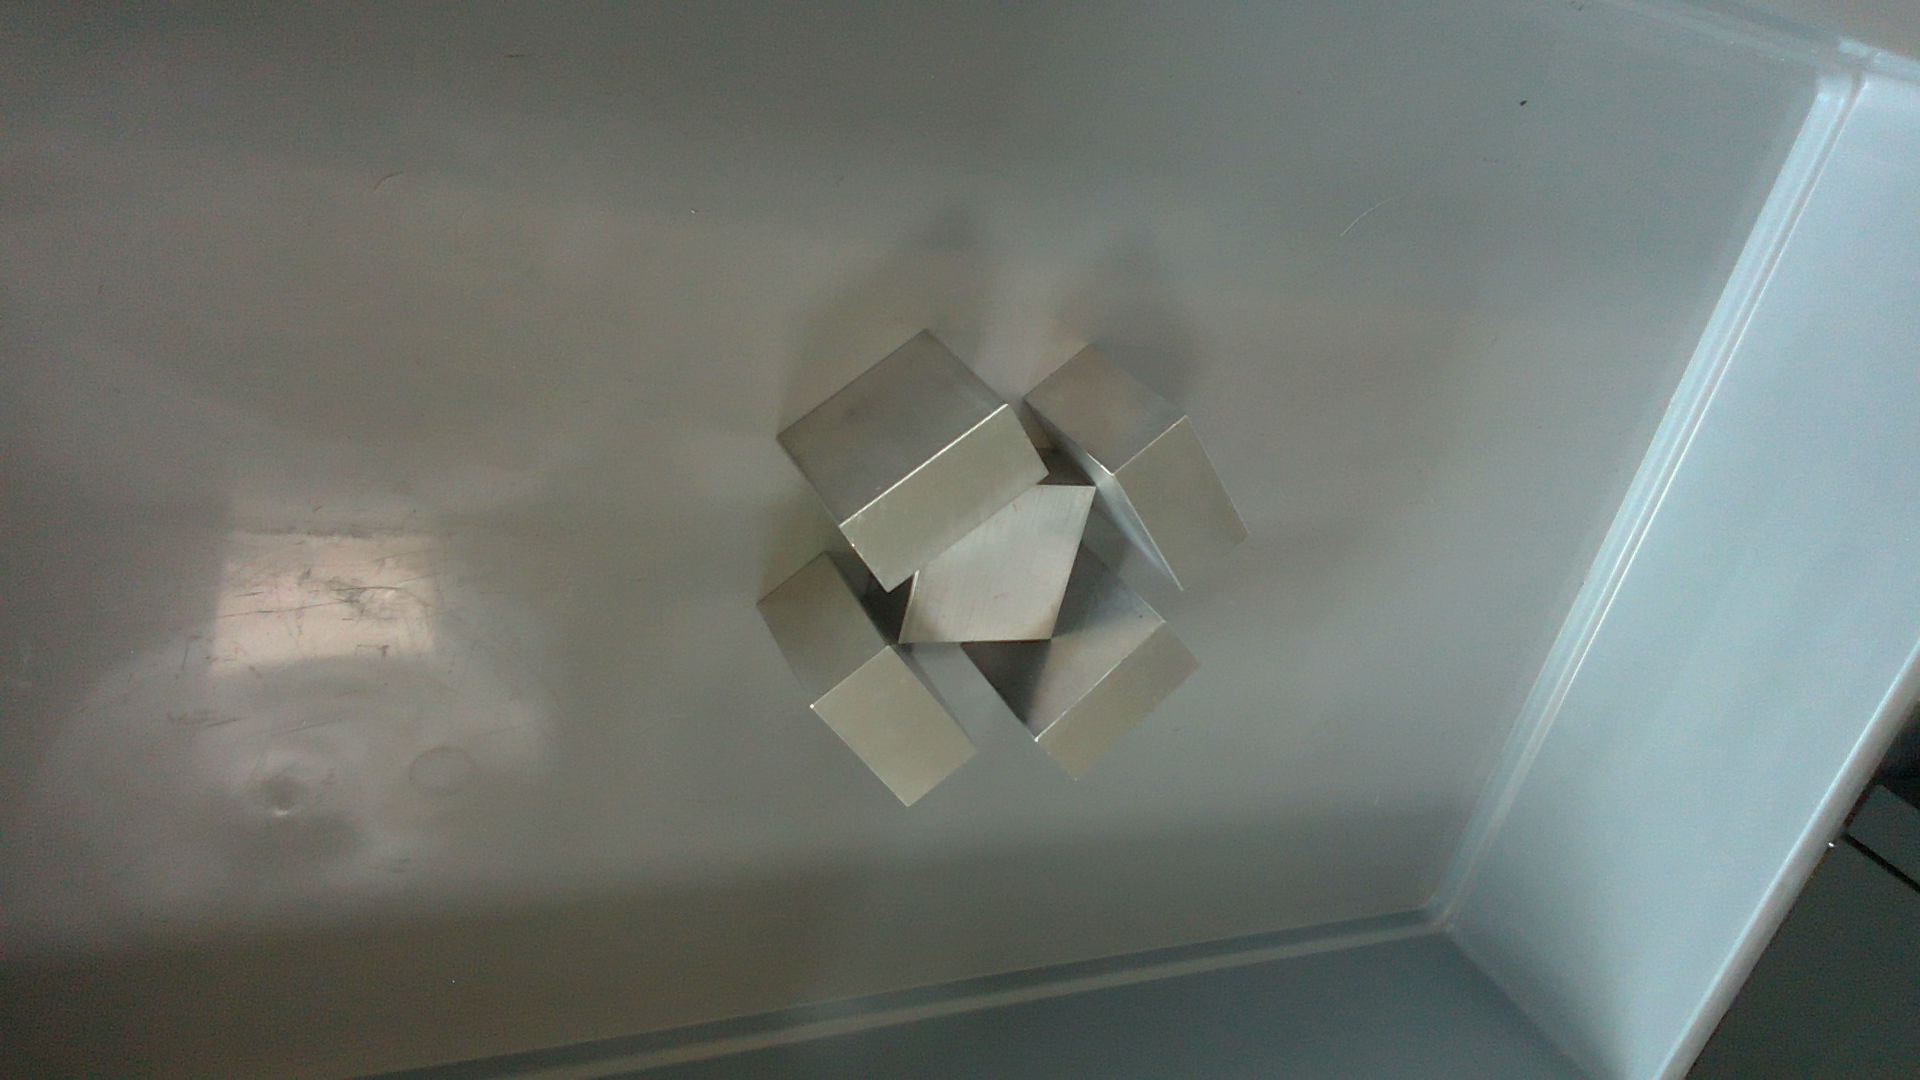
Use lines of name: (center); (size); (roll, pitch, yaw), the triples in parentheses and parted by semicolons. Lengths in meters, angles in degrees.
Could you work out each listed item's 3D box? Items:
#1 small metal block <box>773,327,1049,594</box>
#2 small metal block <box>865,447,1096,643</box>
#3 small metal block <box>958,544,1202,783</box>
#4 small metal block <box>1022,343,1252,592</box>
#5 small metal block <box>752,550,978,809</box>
small metal block: (-0.013, -0.022, 0.350); (0.050, 0.050, 0.025); (-36, 128, -4)
small metal block: (0.005, 0.001, 0.390); (0.050, 0.025, 0.050); (1, 118, -29)
small metal block: (0.035, 0.035, 0.411); (0.050, 0.050, 0.025); (-43, 130, 0)
small metal block: (0.049, -0.021, 0.385); (0.025, 0.050, 0.050); (-39, 130, -3)
small metal block: (-0.027, 0.038, 0.380); (0.025, 0.050, 0.050); (-38, 129, -2)
